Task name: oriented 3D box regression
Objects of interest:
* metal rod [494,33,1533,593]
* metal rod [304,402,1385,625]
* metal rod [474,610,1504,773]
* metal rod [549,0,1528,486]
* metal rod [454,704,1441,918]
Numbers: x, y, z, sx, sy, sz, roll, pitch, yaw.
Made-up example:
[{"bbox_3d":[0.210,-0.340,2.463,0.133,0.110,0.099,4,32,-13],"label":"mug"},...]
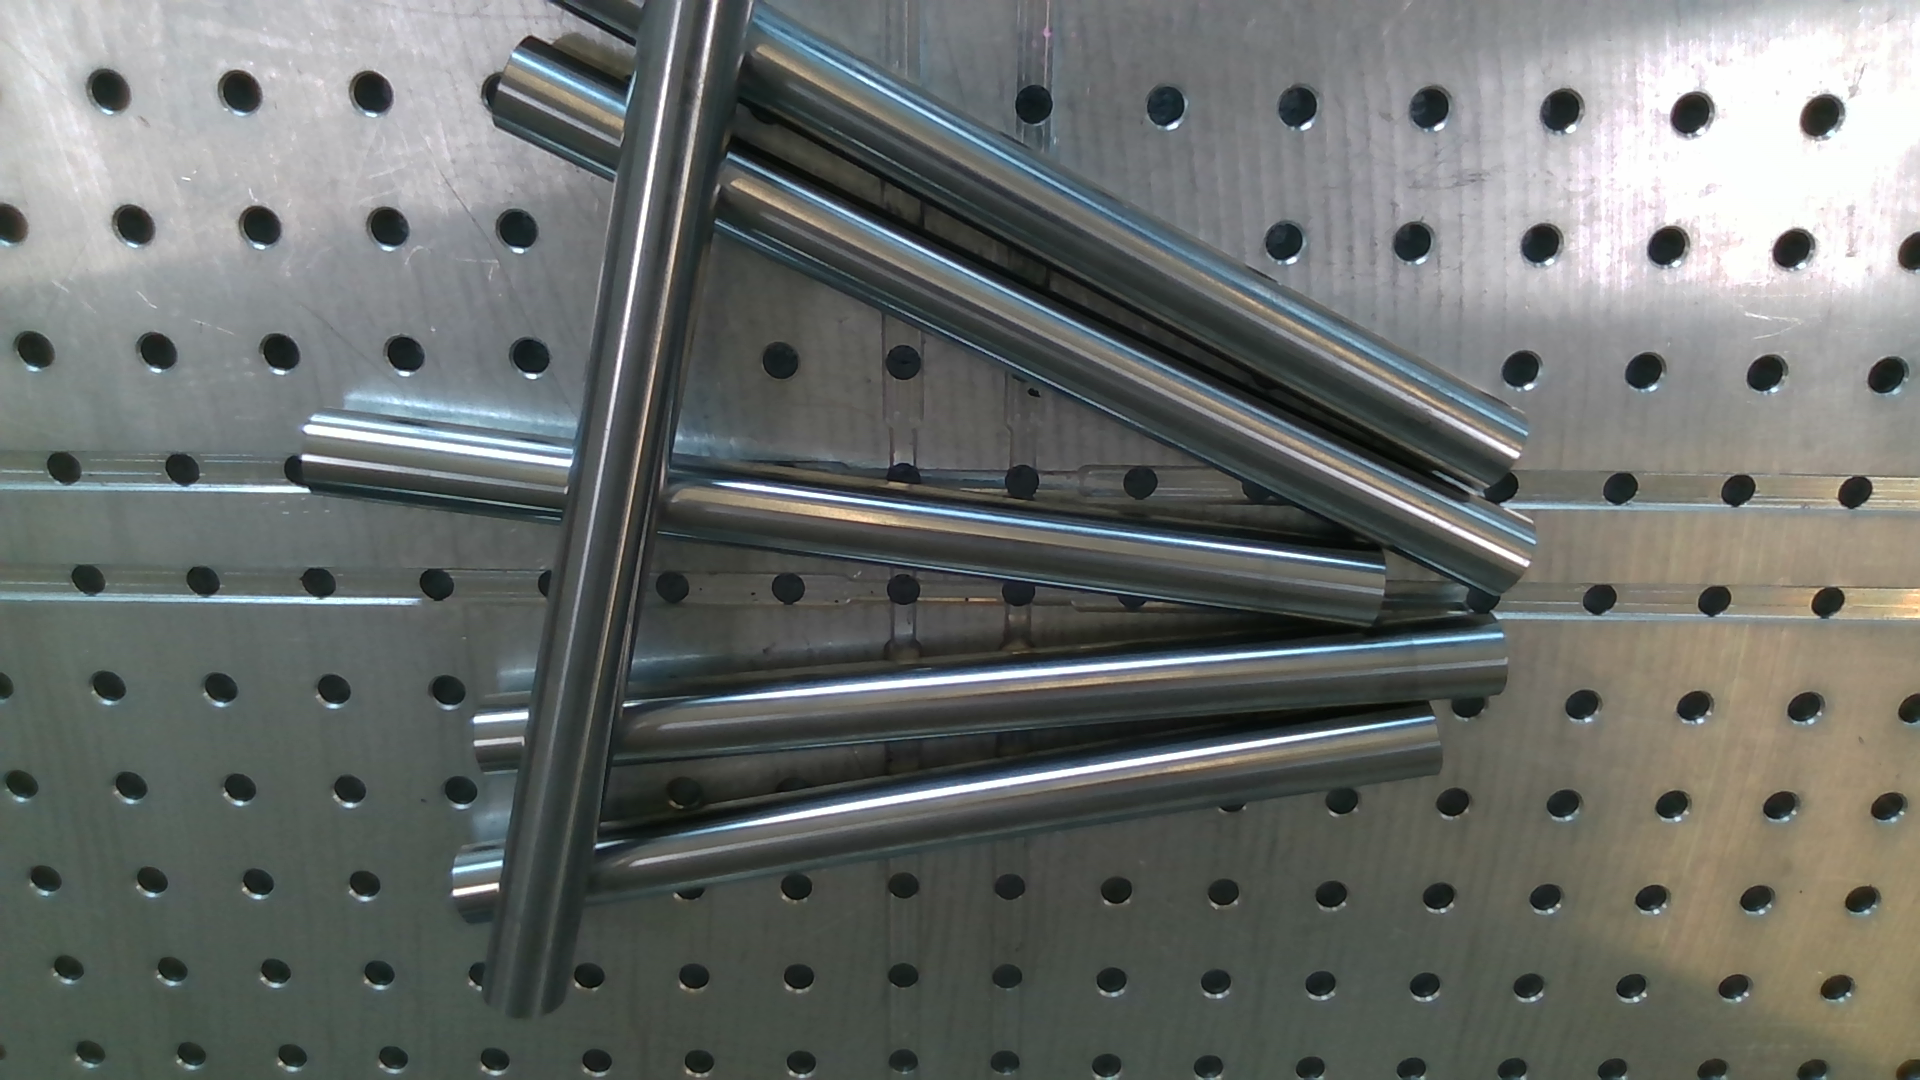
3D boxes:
[{"bbox_3d":[0.022,-0.057,0.375,0.300,0.025,0.025,24,108,-9],"label":"metal rod"},{"bbox_3d":[-0.030,-0.007,0.393,0.300,0.025,0.025,7,110,-3],"label":"metal rod"},{"bbox_3d":[0.007,0.045,0.412,0.300,0.025,0.025,-5,110,2],"label":"metal rod"},{"bbox_3d":[0.017,-0.091,0.361,0.300,0.025,0.025,26,108,-9],"label":"metal rod"},{"bbox_3d":[-0.006,0.082,0.425,0.300,0.025,0.025,-9,110,3],"label":"metal rod"}]
